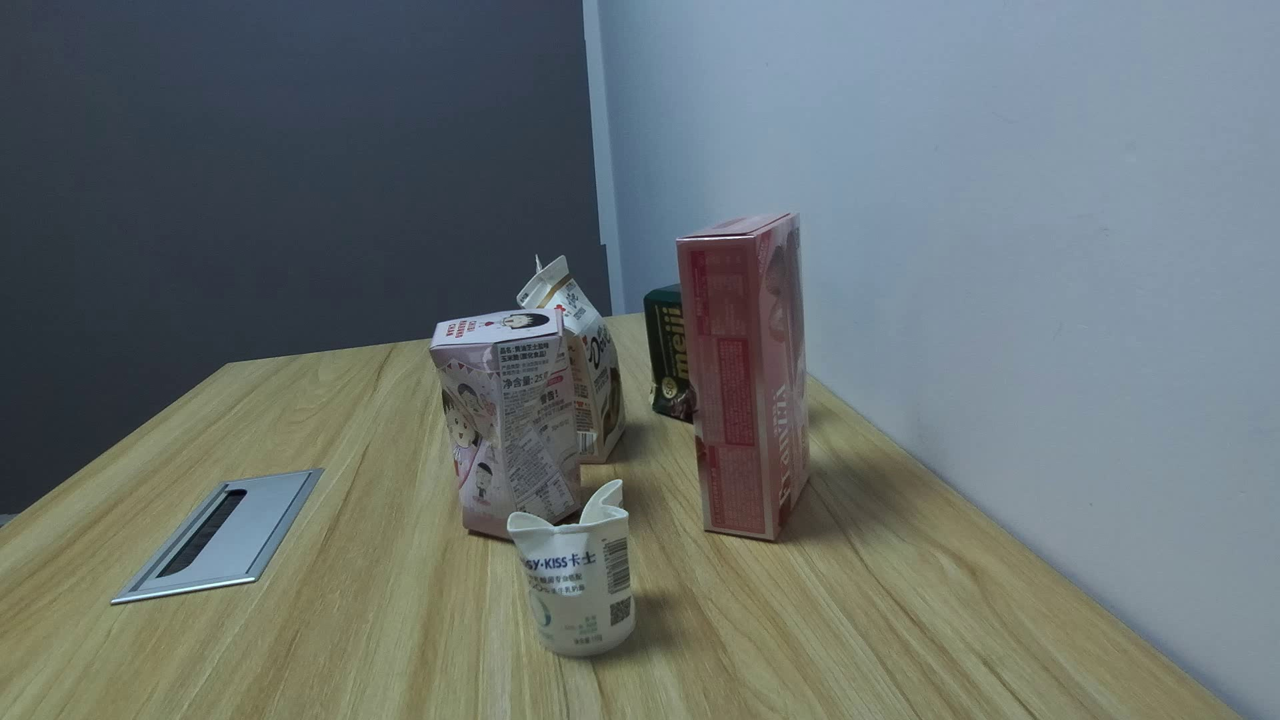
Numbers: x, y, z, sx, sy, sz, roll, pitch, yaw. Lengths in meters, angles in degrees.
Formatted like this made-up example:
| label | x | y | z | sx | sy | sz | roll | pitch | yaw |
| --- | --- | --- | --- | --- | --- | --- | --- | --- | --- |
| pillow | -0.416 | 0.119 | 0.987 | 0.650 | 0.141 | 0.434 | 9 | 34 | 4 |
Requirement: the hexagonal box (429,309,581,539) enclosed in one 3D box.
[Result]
| label | x | y | z | sx | sy | sz | roll | pitch | yaw |
| --- | --- | --- | --- | --- | --- | --- | --- | --- | --- |
| hexagonal box | -0.086 | 0.040 | 0.471 | 0.093 | 0.134 | 0.088 | -21 | 22 | -39 |

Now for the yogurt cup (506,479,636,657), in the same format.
| label | x | y | z | sx | sy | sz | roll | pitch | yaw |
| --- | --- | --- | --- | --- | --- | --- | --- | --- | --- |
| yogurt cup | -0.031 | 0.103 | 0.354 | 0.055 | 0.072 | 0.055 | -5 | 22 | 3 |

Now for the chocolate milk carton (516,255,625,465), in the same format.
| label | x | y | z | sx | sy | sz | roll | pitch | yaw |
| --- | --- | --- | --- | --- | --- | --- | --- | --- | --- |
| chocolate milk carton | -0.062 | -0.004 | 0.563 | 0.073 | 0.155 | 0.076 | -2 | 20 | 15 |

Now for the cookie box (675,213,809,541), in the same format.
| label | x | y | z | sx | sy | sz | roll | pitch | yaw |
| --- | --- | --- | --- | --- | --- | --- | --- | --- | --- |
| cookie box | 0.071 | 0.008 | 0.442 | 0.048 | 0.185 | 0.096 | 2 | 19 | 26 |

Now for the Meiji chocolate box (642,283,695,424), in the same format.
| label | x | y | z | sx | sy | sz | roll | pitch | yaw |
| --- | --- | --- | --- | --- | --- | --- | --- | --- | --- |
| Meiji chocolate box | 0.061 | -0.004 | 0.606 | 0.059 | 0.116 | 0.122 | -20 | 22 | -37 |
